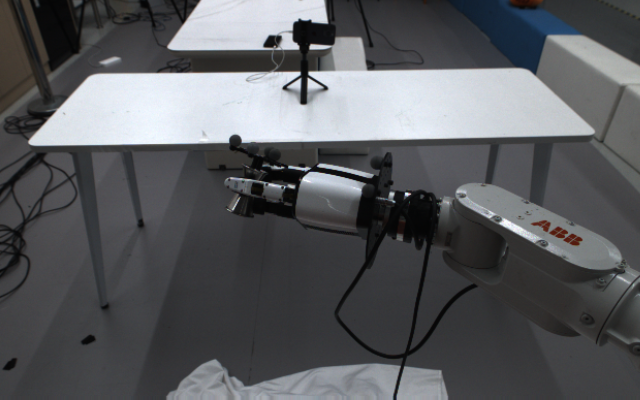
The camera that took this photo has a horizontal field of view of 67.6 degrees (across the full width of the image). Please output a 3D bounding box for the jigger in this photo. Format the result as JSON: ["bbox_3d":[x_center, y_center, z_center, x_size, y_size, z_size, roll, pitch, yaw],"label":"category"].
[{"bbox_3d":[-0.104,-0.014,0.685,0.043,0.071,0.043,21,6,-2],"label":"jigger"}]
